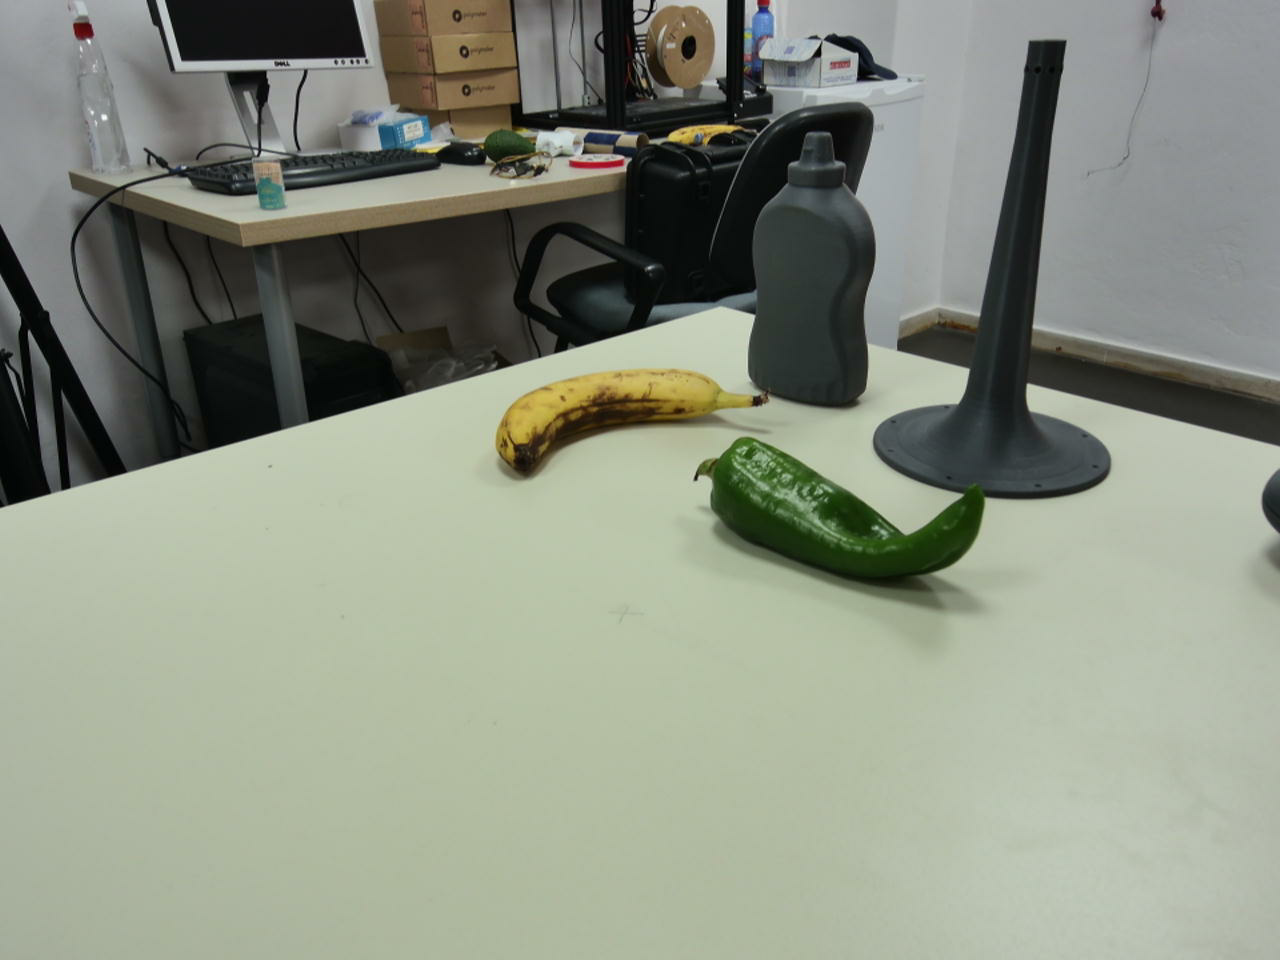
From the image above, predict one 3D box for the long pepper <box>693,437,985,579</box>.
[{"bbox_3d":[0.096,0.011,0.539,0.058,0.065,0.175,-20,31,-39],"label":"long pepper"}]
